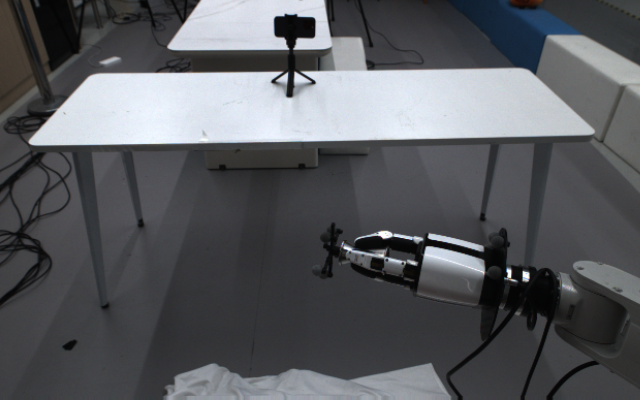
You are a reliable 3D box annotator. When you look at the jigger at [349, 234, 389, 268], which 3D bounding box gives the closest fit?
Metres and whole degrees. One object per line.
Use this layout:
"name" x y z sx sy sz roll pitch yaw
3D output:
"jigger" 0.072 0.080 0.719 0.071 0.043 0.043 8 35 16
